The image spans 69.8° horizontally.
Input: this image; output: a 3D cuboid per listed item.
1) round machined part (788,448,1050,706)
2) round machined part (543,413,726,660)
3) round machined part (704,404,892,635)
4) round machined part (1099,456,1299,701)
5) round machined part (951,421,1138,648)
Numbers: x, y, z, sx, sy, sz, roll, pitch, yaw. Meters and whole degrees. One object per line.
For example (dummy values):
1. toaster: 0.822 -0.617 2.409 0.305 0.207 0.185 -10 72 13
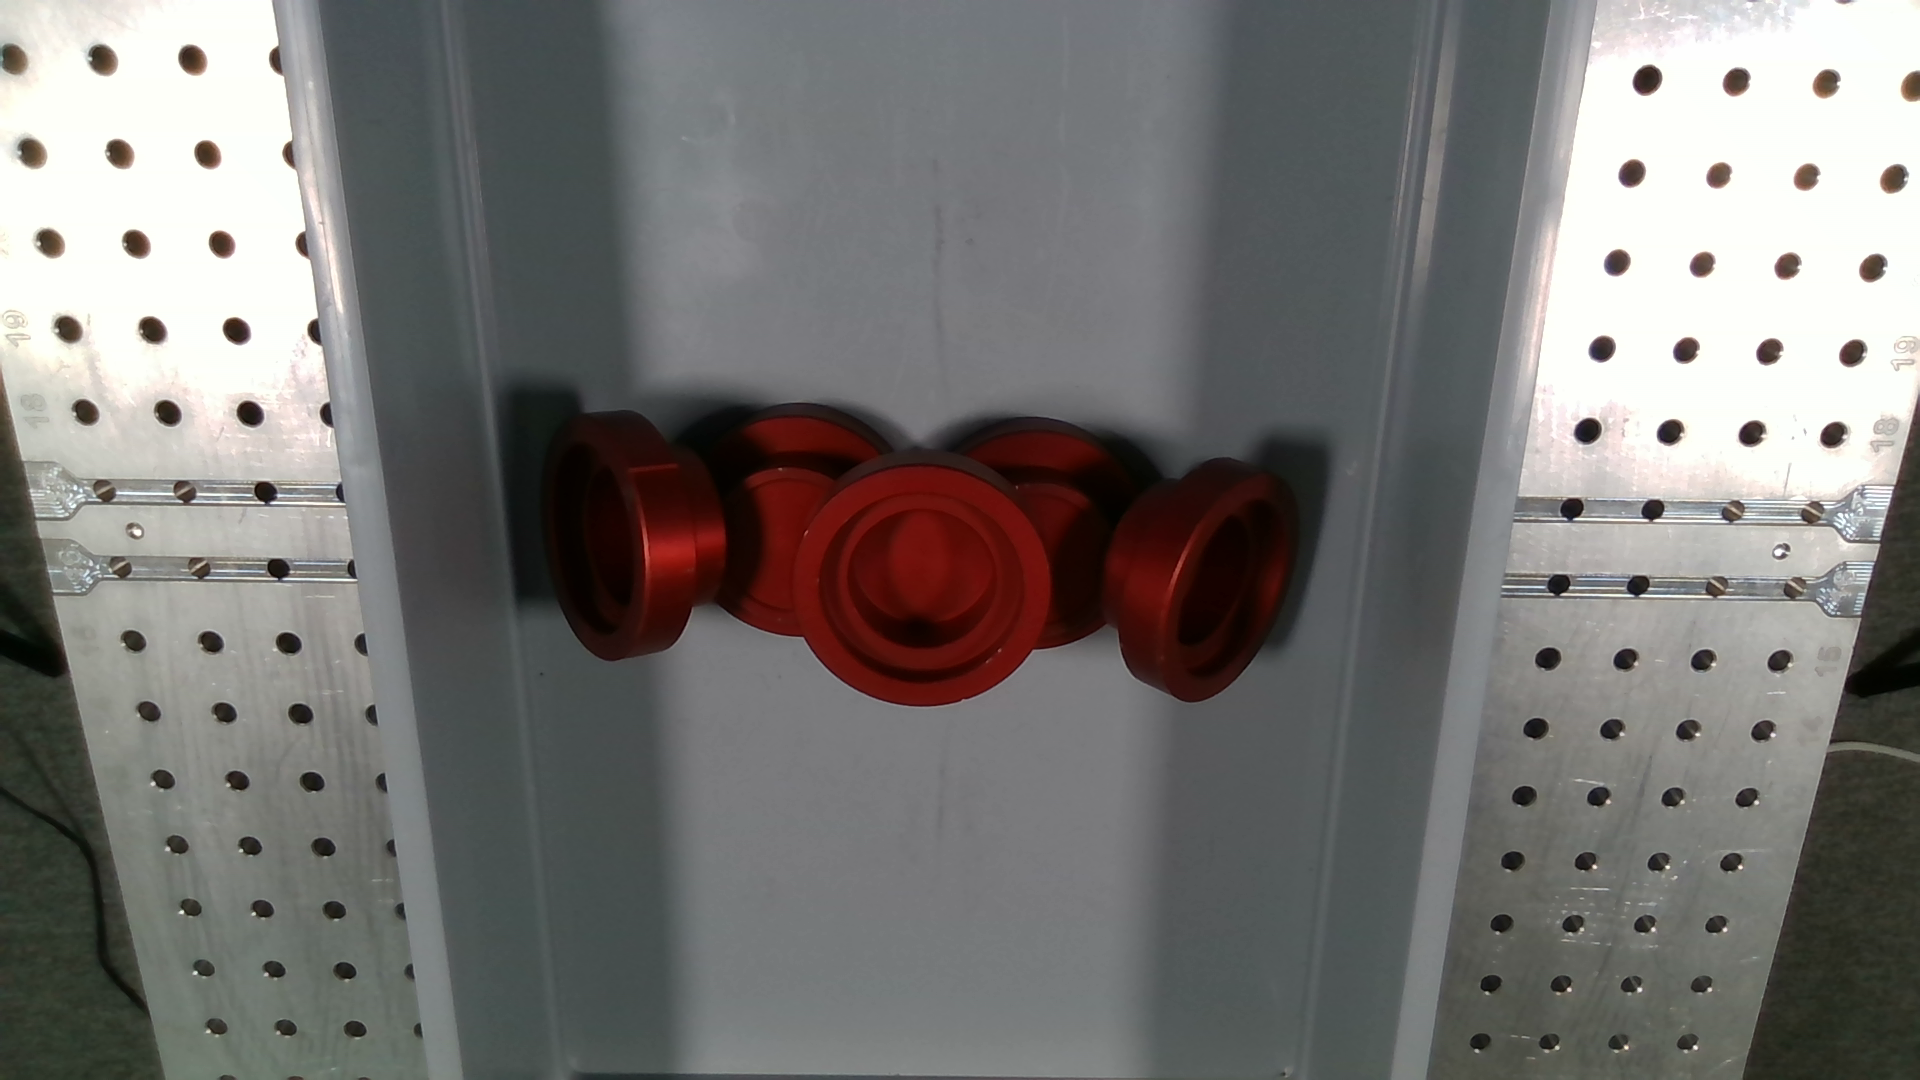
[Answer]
1. round machined part: -0.015 0.011 0.533 0.098 0.042 0.098 0 110 0
2. round machined part: -0.129 -0.004 0.554 0.042 0.098 0.098 -9 116 -37
3. round machined part: -0.068 -0.005 0.572 0.098 0.042 0.098 0 110 0
4. round machined part: 0.093 0.013 0.559 0.042 0.098 0.098 24 115 37
5. round machined part: 0.030 0.001 0.574 0.098 0.042 0.098 0 110 0
